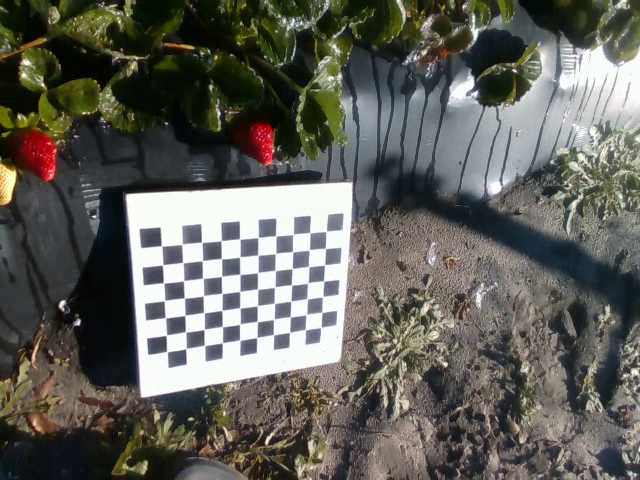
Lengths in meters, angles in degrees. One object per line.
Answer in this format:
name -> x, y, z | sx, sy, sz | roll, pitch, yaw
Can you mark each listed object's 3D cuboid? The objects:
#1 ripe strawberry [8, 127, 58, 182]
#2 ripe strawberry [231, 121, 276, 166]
ripe strawberry -> -0.287, -0.084, 0.567 | 0.042, 0.061, 0.046 | -20, -17, -18
ripe strawberry -> -0.076, -0.115, 0.648 | 0.048, 0.061, 0.044 | -12, -10, -21
